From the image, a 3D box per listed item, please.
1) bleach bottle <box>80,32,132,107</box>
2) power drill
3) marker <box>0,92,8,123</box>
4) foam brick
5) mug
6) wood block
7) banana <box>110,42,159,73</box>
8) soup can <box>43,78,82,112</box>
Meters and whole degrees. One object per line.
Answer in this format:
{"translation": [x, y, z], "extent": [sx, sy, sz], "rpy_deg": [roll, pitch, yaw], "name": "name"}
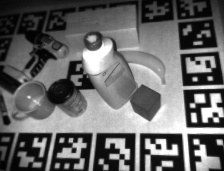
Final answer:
{"translation": [-0.016, -0.040, 0.495], "extent": [0.067, 0.253, 0.103], "rpy_deg": [26, 72, 24], "name": "bleach bottle"}
{"translation": [-0.263, -0.086, 0.683], "extent": [0.183, 0.058, 0.187], "rpy_deg": [27, 72, 18], "name": "power drill"}
{"translation": [-0.334, 0.059, 0.648], "extent": [0.019, 0.020, 0.120], "rpy_deg": [-30, 64, 0], "name": "marker"}
{"translation": [0.077, 0.036, 0.539], "extent": [0.052, 0.079, 0.051], "rpy_deg": [31, 73, 26], "name": "foam brick"}
{"translation": [-0.229, 0.037, 0.597], "extent": [0.117, 0.082, 0.092], "rpy_deg": [-45, 66, -7], "name": "mug"}
{"translation": [-0.033, -0.177, 0.655], "extent": [0.205, 0.092, 0.089], "rpy_deg": [-3, 66, 11], "name": "wood block"}
{"translation": [0.045, -0.091, 0.623], "extent": [0.196, 0.039, 0.074], "rpy_deg": [13, 82, 15], "name": "banana"}
{"translation": [-0.126, 0.022, 0.565], "extent": [0.067, 0.103, 0.067], "rpy_deg": [-5, 60, 9], "name": "soup can"}
